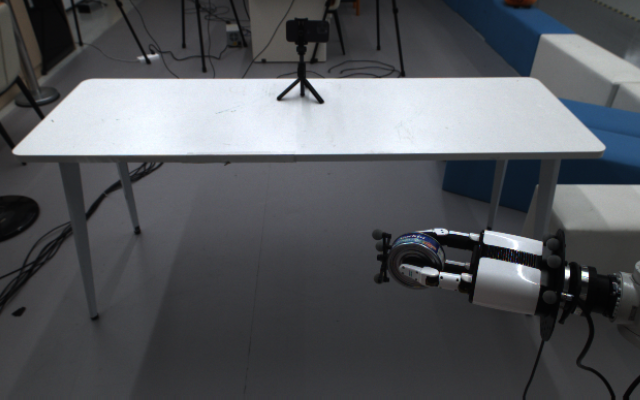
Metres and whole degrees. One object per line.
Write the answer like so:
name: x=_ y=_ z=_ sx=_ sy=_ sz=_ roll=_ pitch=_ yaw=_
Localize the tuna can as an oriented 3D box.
tuna can: x=0.149 y=0.090 z=0.740 sx=0.085 sy=0.085 sz=0.034 roll=12 pitch=27 yaw=14
